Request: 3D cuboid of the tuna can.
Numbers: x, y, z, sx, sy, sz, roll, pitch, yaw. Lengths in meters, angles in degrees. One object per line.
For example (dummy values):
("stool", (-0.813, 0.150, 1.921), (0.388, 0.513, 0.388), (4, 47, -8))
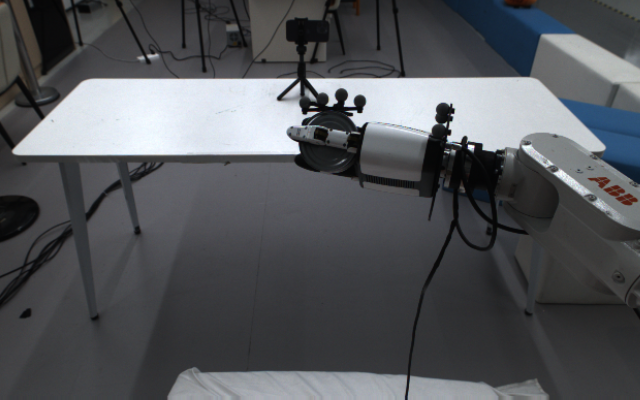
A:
("tuna can", (0.013, -0.083, 0.682), (0.085, 0.085, 0.034), (13, -3, 15))
